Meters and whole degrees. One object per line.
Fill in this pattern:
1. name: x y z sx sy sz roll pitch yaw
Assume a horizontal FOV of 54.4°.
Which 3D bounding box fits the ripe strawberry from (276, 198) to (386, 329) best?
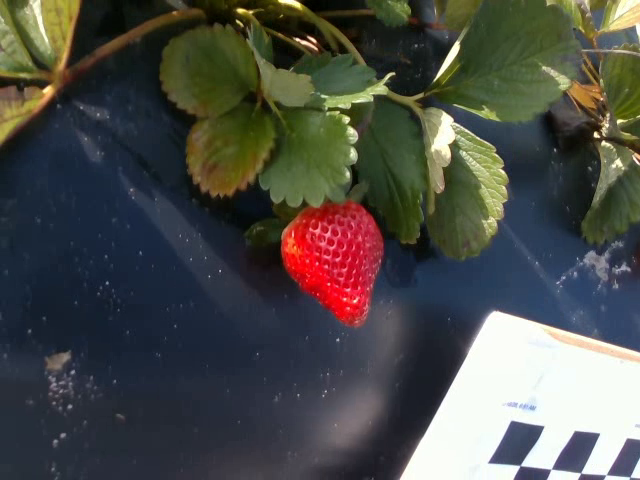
1. ripe strawberry: 0.007 0.009 0.190 0.041 0.047 0.041 -9 -31 -12
